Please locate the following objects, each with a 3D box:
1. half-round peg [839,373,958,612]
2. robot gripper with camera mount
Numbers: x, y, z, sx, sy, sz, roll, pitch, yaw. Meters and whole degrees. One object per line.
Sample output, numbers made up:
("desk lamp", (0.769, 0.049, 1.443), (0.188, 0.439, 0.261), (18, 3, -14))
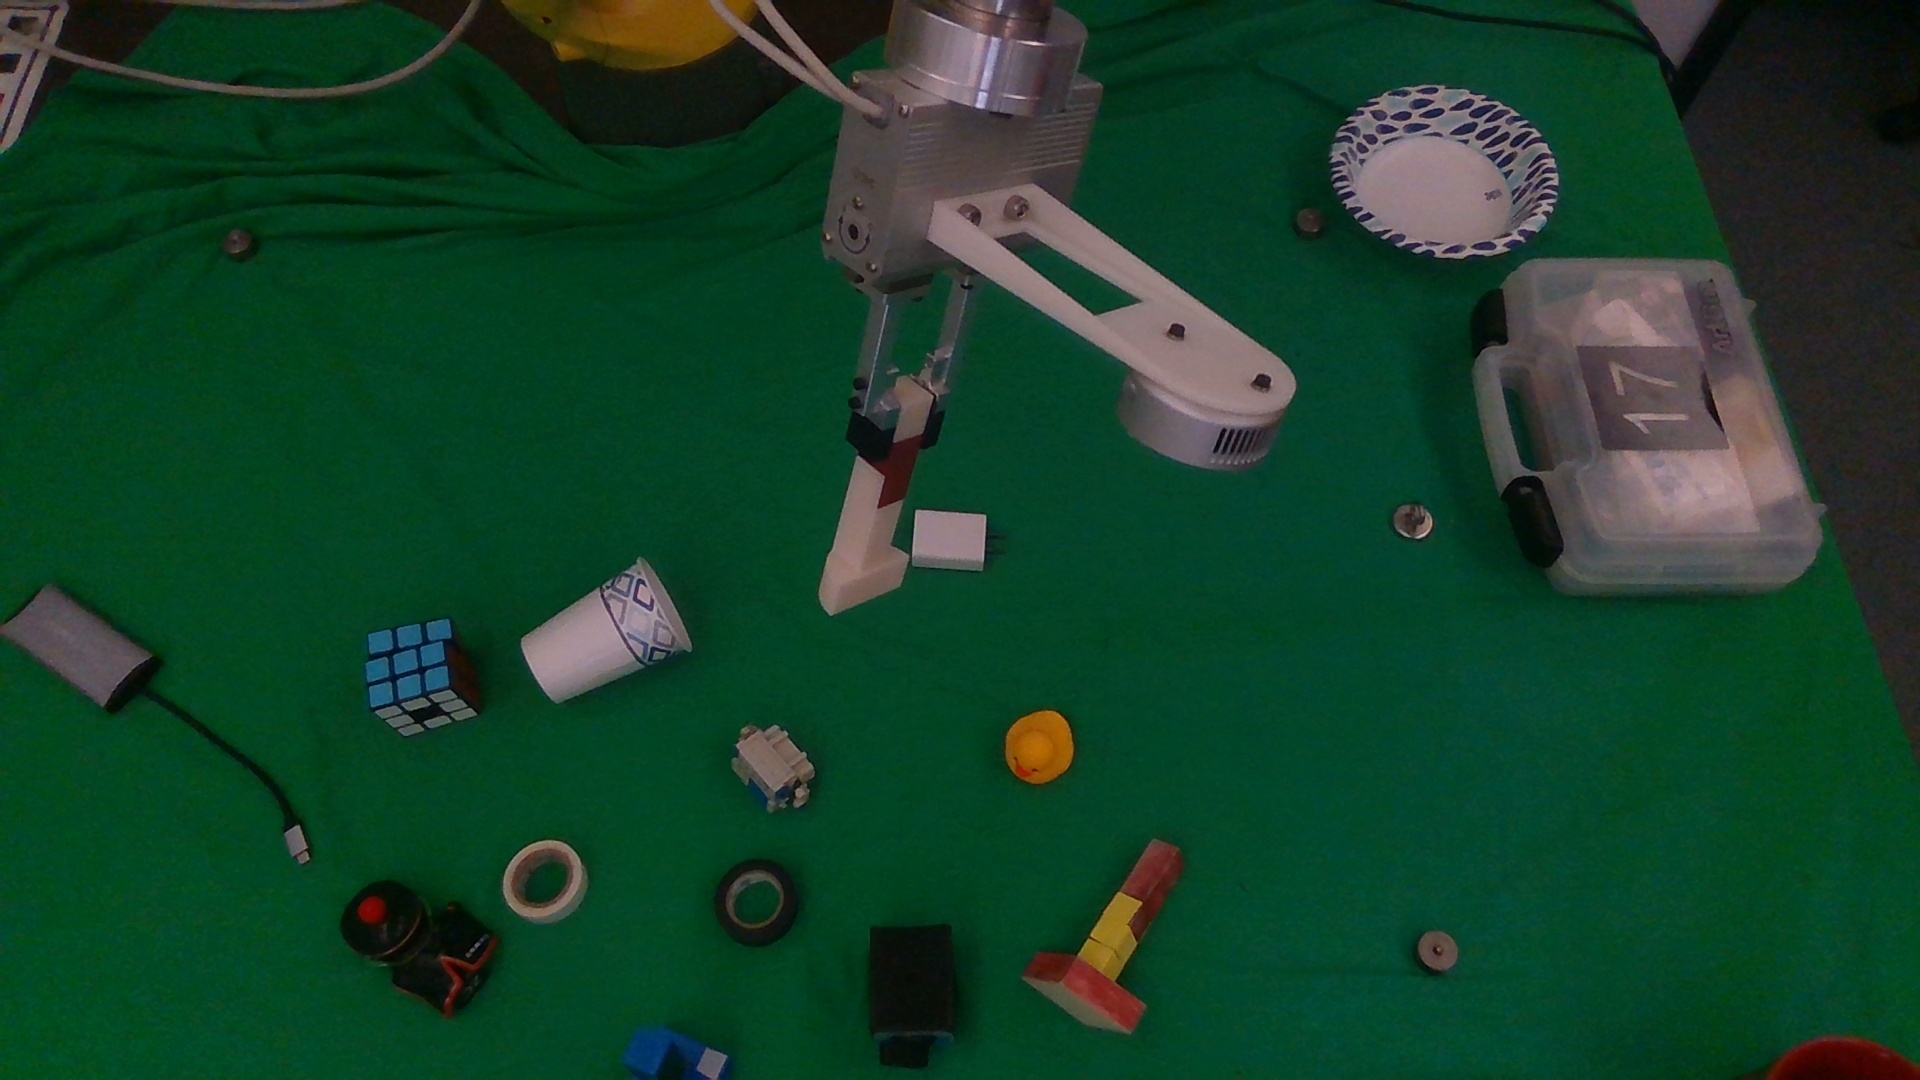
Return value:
("half-round peg", (-0.029, -0.025, 0.666), (0.031, 0.122, 0.054), (33, 38, 18))
("robot gripper with camera mount", (0.046, -0.084, 0.580), (0.194, 0.159, 0.118), (36, 37, 29))
